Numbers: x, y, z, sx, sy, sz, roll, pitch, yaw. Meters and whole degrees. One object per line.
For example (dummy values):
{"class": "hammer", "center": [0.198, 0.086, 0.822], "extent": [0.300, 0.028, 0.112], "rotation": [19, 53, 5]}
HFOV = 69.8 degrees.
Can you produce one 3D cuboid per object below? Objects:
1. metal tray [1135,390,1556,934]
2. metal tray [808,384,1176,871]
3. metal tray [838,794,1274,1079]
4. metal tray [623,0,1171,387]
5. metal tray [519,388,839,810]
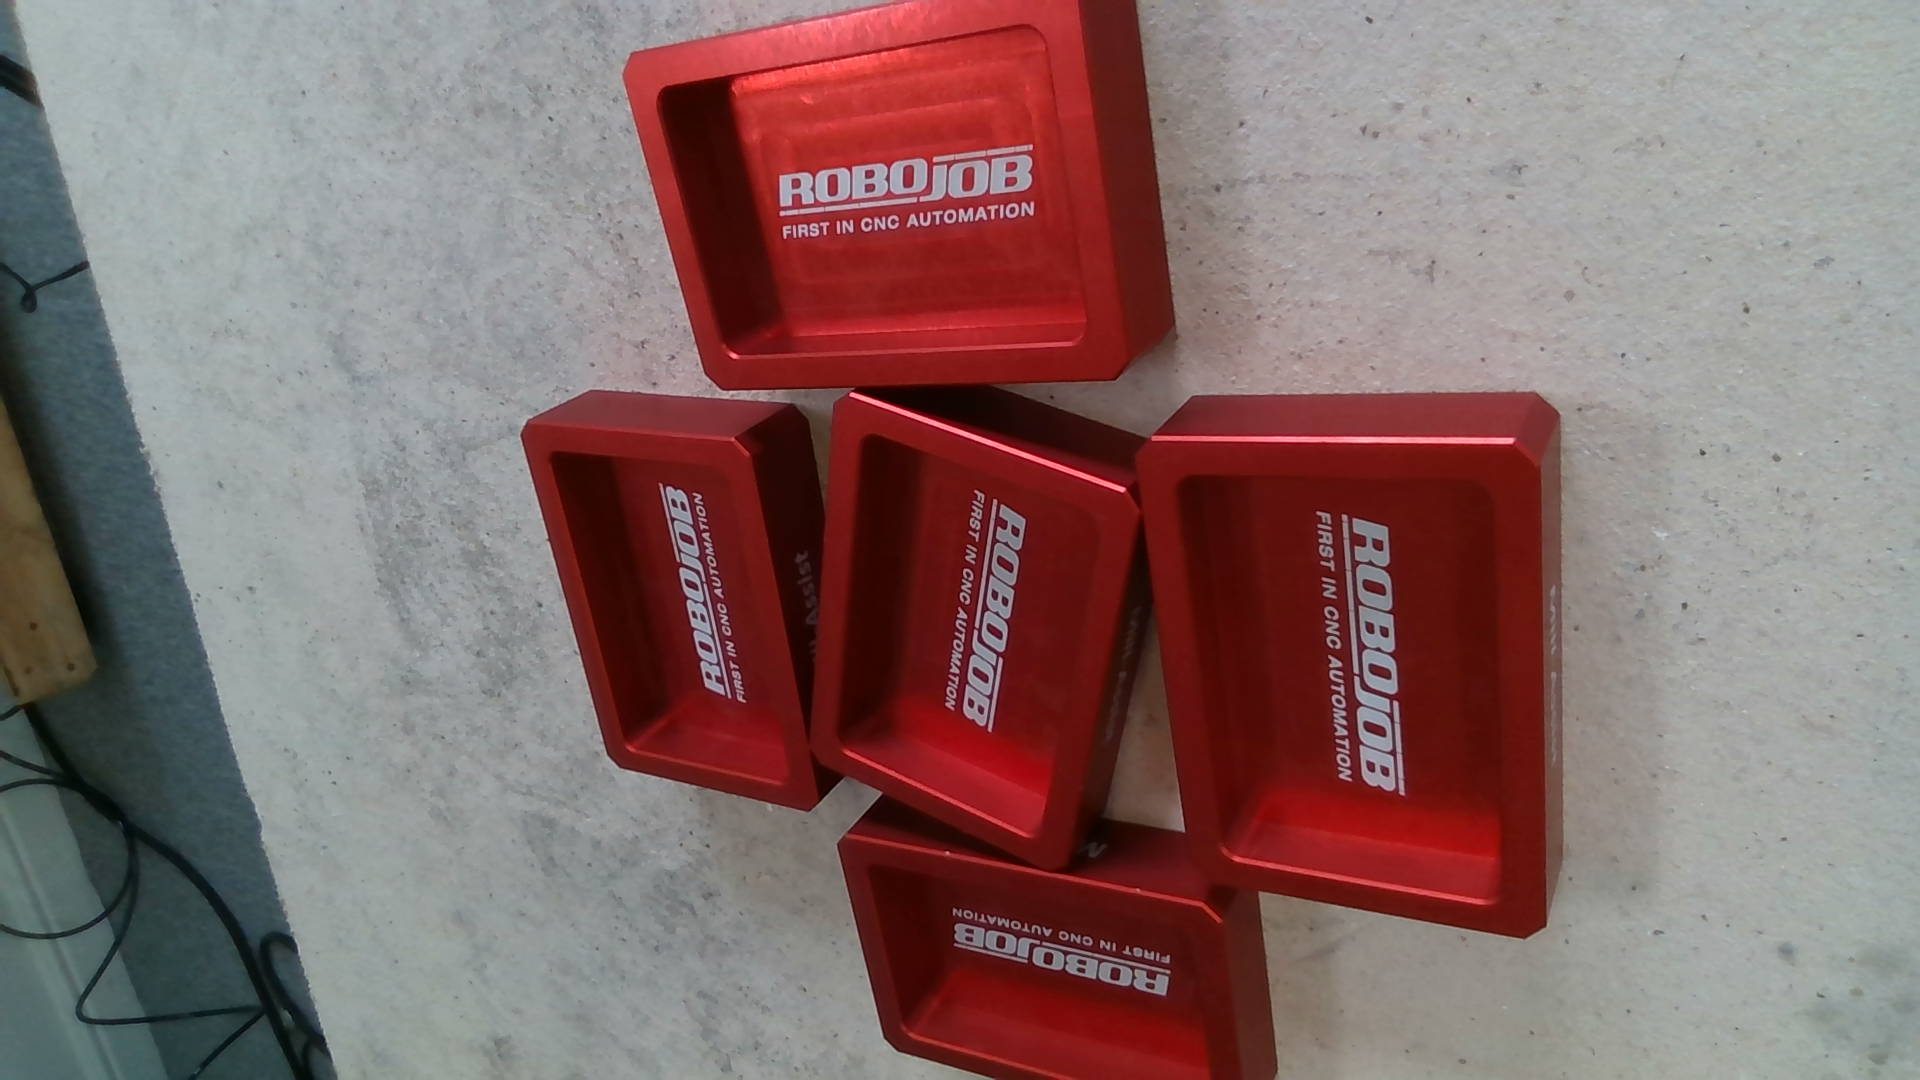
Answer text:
{"class": "metal tray", "center": [0.098, 0.029, 0.342], "extent": [0.090, 0.030, 0.130], "rotation": [4, 116, 30]}
{"class": "metal tray", "center": [0.005, 0.022, 0.395], "extent": [0.090, 0.030, 0.130], "rotation": [22, 124, 22]}
{"class": "metal tray", "center": [0.030, 0.131, 0.440], "extent": [0.130, 0.030, 0.090], "rotation": [4, 116, 30]}
{"class": "metal tray", "center": [-0.017, -0.087, 0.348], "extent": [0.130, 0.030, 0.090], "rotation": [3, 116, 31]}
{"class": "metal tray", "center": [-0.086, 0.019, 0.448], "extent": [0.090, 0.030, 0.130], "rotation": [7, 118, 28]}
